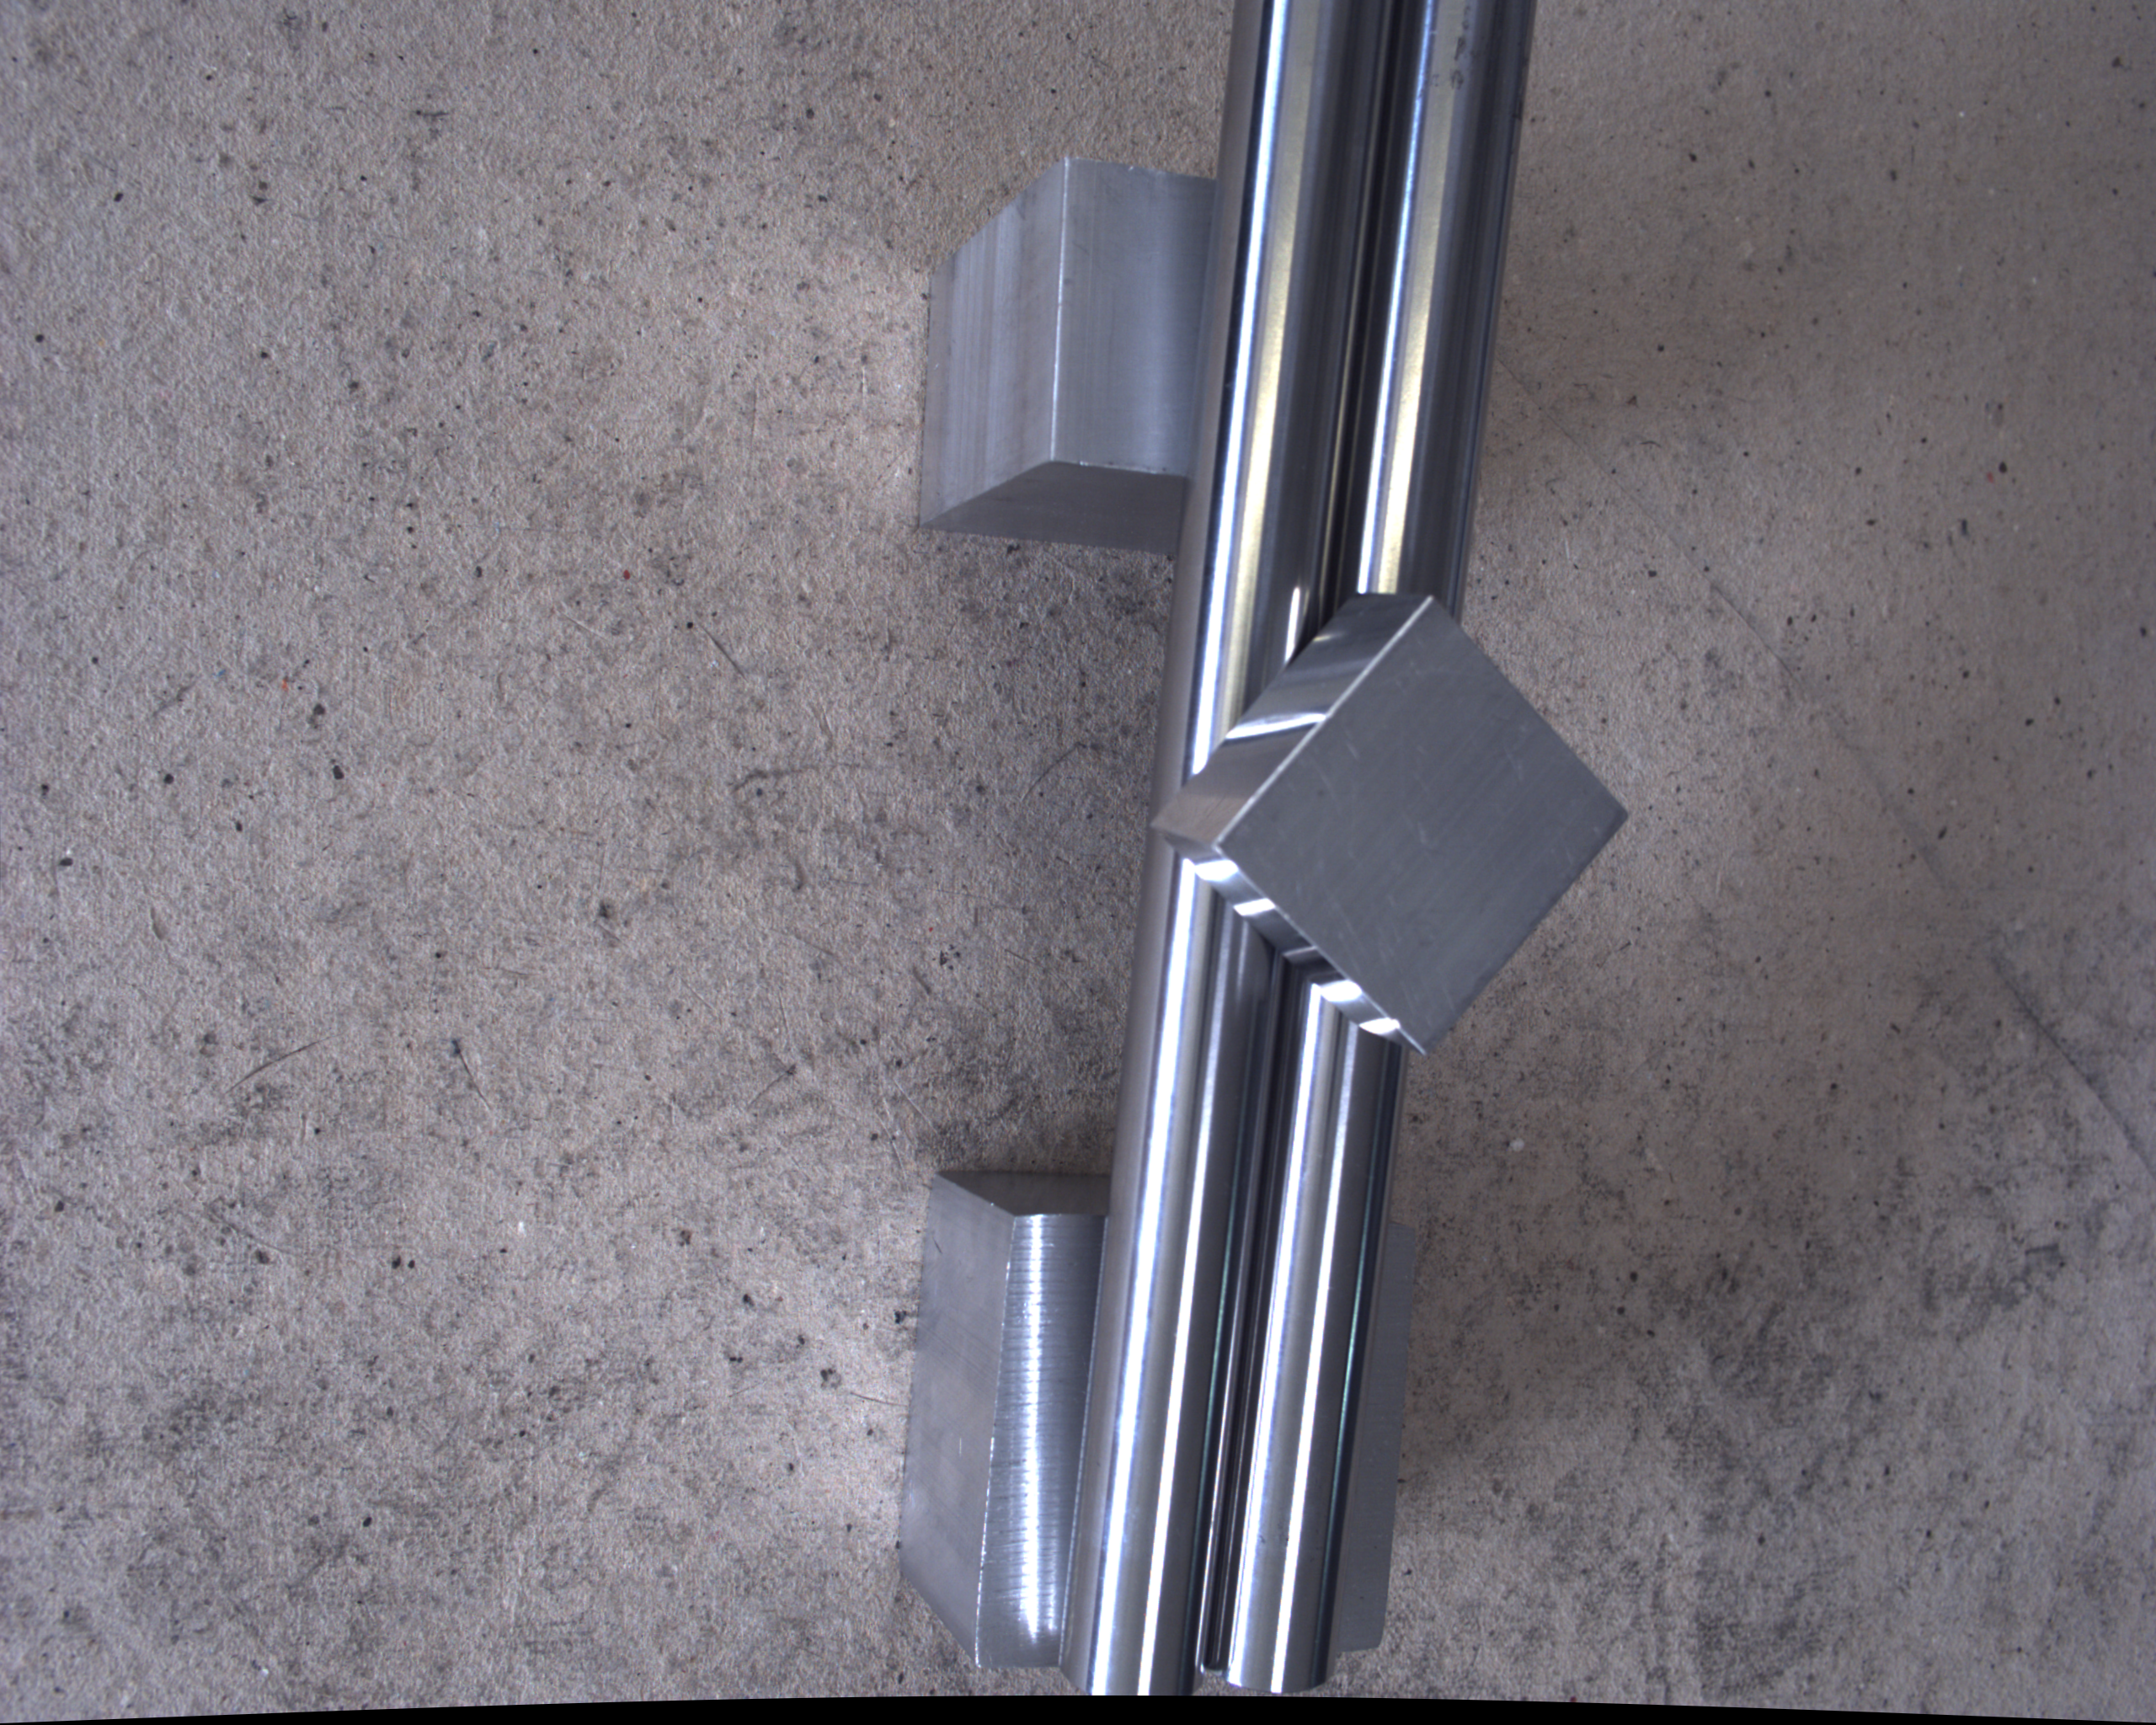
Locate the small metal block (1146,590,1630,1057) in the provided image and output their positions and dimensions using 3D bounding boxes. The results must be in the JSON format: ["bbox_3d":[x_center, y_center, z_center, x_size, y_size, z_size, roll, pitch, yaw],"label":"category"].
[{"bbox_3d":[0.048,-0.007,0.324,0.050,0.025,0.050,44,82,-21],"label":"small metal block"}]

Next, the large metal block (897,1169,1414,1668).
[{"bbox_3d":[0.014,0.104,0.402,0.081,0.050,0.080,5,88,-20],"label":"large metal block"}]

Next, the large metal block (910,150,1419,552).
[{"bbox_3d":[0.020,-0.089,0.389,0.081,0.080,0.050,3,89,-20],"label":"large metal block"}]

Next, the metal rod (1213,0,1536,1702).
[{"bbox_3d":[0.048,-0.007,0.351,0.025,0.025,0.298,3,96,-20],"label":"metal rod"}]

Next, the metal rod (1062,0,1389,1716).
[{"bbox_3d":[0.024,-0.008,0.342,0.025,0.025,0.298,3,96,-20],"label":"metal rod"}]
